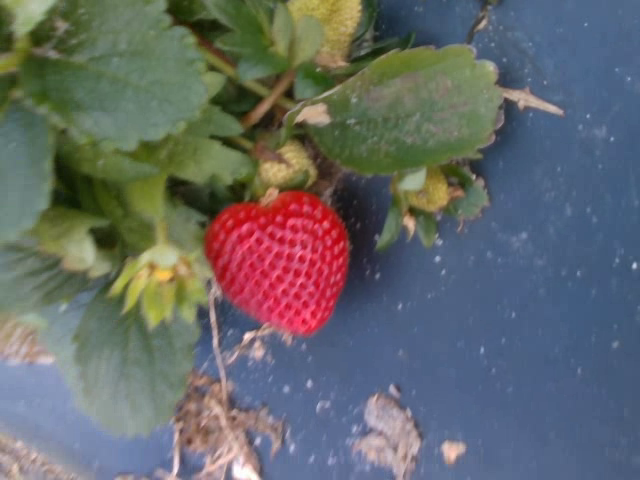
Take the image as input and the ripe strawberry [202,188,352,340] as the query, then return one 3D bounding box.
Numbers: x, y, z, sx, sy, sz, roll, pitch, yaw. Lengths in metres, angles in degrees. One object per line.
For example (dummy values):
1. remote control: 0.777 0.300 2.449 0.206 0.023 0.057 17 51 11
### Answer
1. ripe strawberry: -0.013 0.011 0.188 0.046 0.046 0.043 -15 -26 -31
